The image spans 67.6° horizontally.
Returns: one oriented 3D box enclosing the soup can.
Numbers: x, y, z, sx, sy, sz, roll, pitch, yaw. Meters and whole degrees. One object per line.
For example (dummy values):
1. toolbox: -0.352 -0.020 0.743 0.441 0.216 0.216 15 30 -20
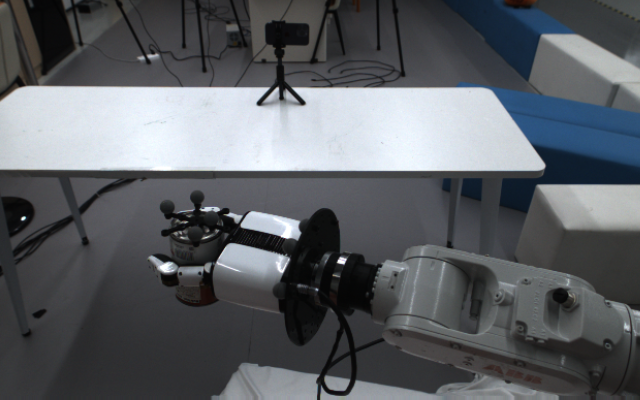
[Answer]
1. soup can: -0.151 0.075 0.609 0.067 0.101 0.067 3 31 -2
